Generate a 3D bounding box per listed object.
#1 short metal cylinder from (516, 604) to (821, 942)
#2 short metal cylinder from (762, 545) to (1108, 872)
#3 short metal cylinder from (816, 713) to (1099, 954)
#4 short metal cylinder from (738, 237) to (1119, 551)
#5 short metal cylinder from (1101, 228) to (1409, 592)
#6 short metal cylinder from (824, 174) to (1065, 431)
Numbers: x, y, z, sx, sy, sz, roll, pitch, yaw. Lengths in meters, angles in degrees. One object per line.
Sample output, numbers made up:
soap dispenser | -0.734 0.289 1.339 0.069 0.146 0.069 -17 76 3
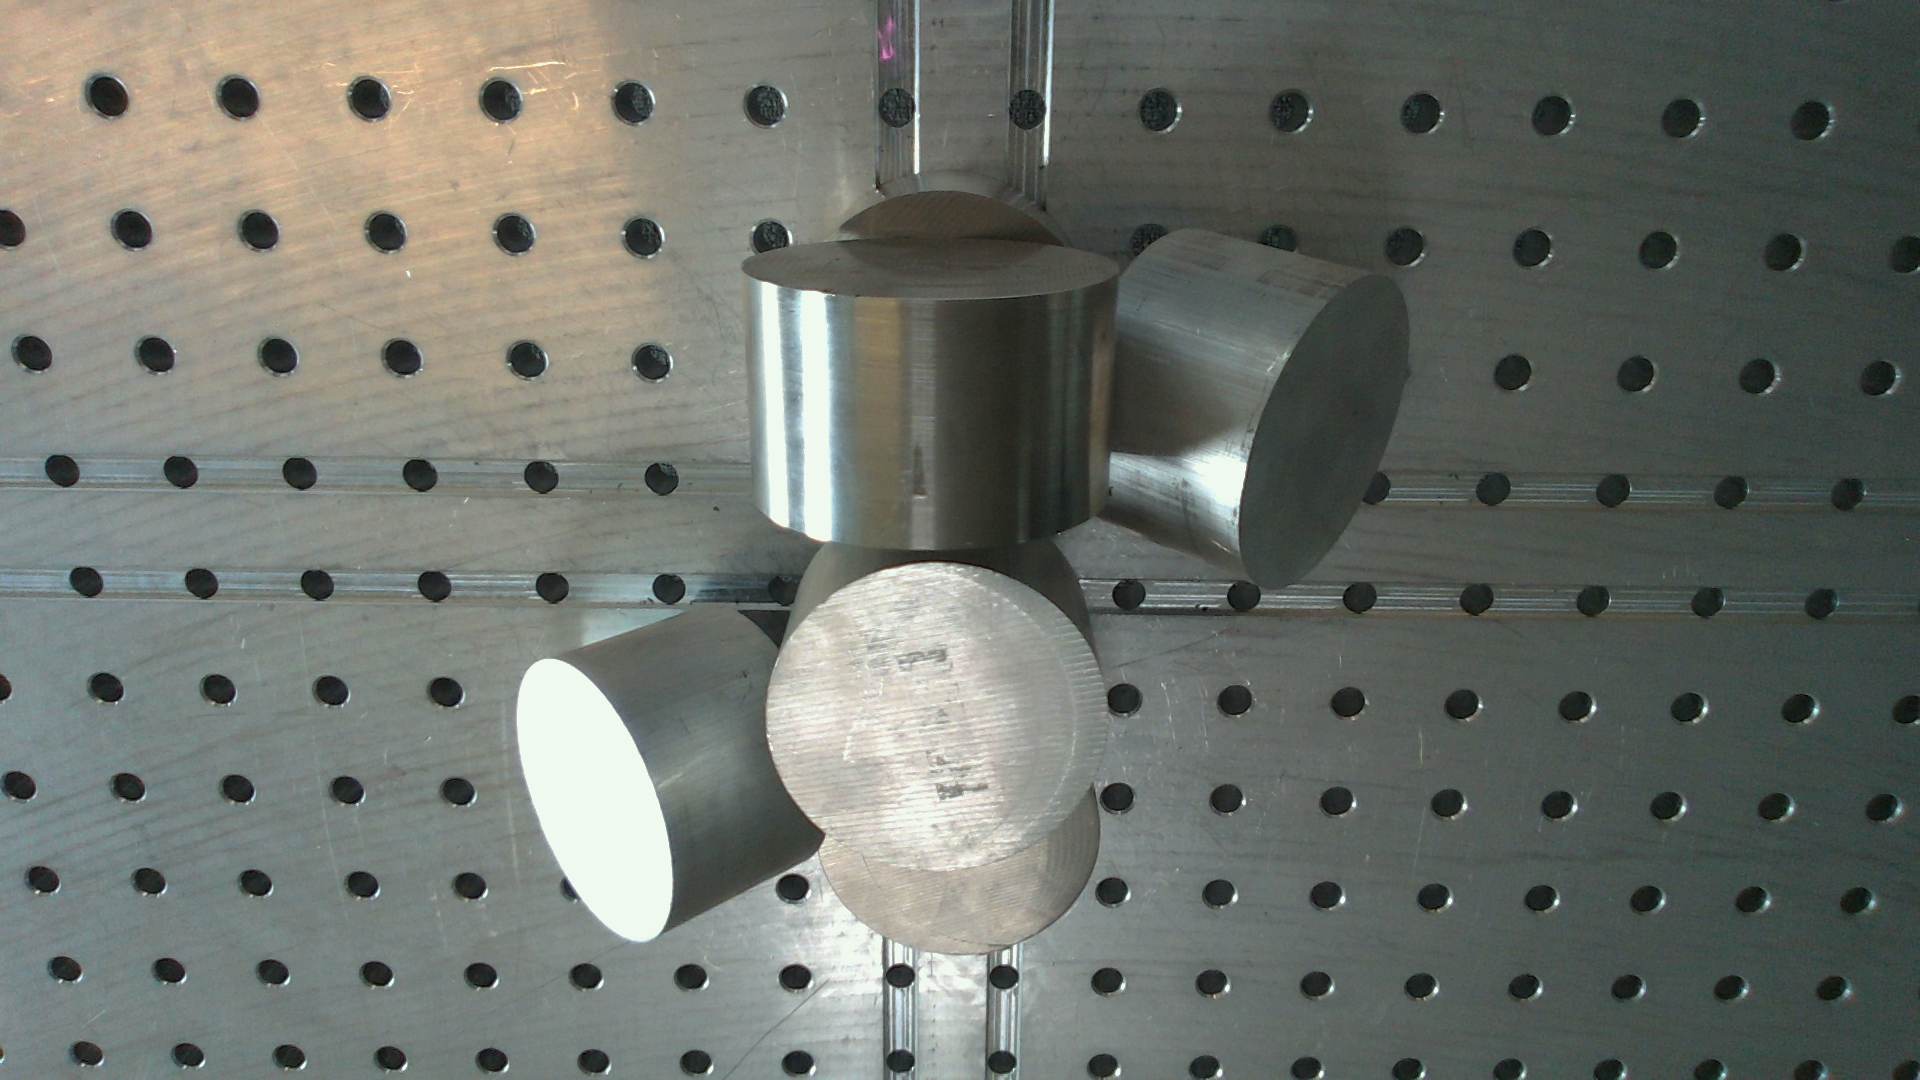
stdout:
short metal cylinder | -0.081 0.064 0.384 0.050 0.080 0.080 -20 117 -40
short metal cylinder | -0.006 0.034 0.342 0.080 0.050 0.080 0 110 0
short metal cylinder | -0.001 0.075 0.410 0.080 0.050 0.080 0 111 0
short metal cylinder | -0.007 -0.035 0.300 0.080 0.080 0.050 0 110 0
short metal cylinder | 0.071 -0.033 0.348 0.050 0.080 0.080 25 114 34
short metal cylinder | -0.004 -0.054 0.363 0.080 0.050 0.080 0 111 0
